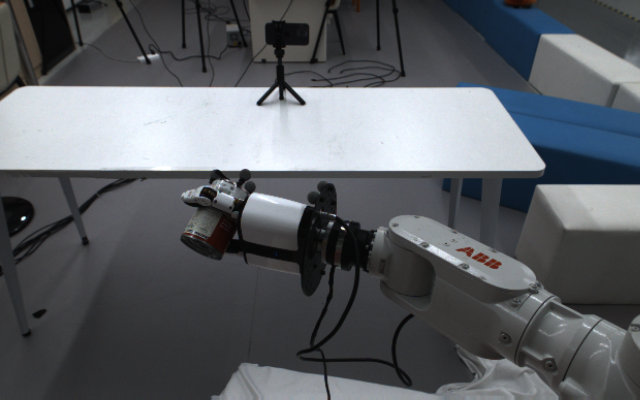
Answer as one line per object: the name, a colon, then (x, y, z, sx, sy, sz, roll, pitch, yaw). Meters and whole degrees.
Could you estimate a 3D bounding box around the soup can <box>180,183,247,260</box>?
soup can: (-0.150, 0.029, 0.708, 0.067, 0.067, 0.101, 16, 63, 19)
